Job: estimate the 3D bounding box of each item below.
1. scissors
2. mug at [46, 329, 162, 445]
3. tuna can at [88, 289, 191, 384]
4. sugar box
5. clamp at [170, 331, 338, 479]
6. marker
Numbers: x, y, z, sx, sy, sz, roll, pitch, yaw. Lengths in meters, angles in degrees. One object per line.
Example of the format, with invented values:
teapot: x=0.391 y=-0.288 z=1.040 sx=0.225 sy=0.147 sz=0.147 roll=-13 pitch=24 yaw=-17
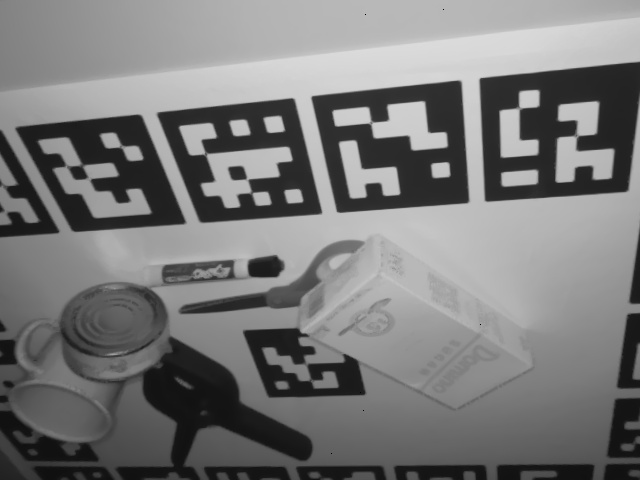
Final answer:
scissors: x=-0.008 y=0.055 z=0.606 sx=0.201 sy=0.016 sz=0.087 roll=-14 pitch=127 yaw=19
mug: x=-0.203 y=0.128 z=0.653 sx=0.092 sy=0.082 sz=0.117 roll=-31 pitch=120 yaw=27
tuna can: x=-0.157 y=0.082 z=0.607 sx=0.086 sy=0.086 sz=0.033 roll=8 pitch=127 yaw=2
sugar box: x=0.098 y=0.072 z=0.584 sx=0.177 sy=0.046 sz=0.091 roll=34 pitch=124 yaw=-24
clamp: x=-0.091 y=0.173 z=0.709 sx=0.164 sy=0.037 sz=0.202 roll=-15 pitch=122 yaw=18
marker: x=-0.061 y=0.025 z=0.594 sx=0.120 sy=0.020 sz=0.019 roll=-9 pitch=124 yaw=13
